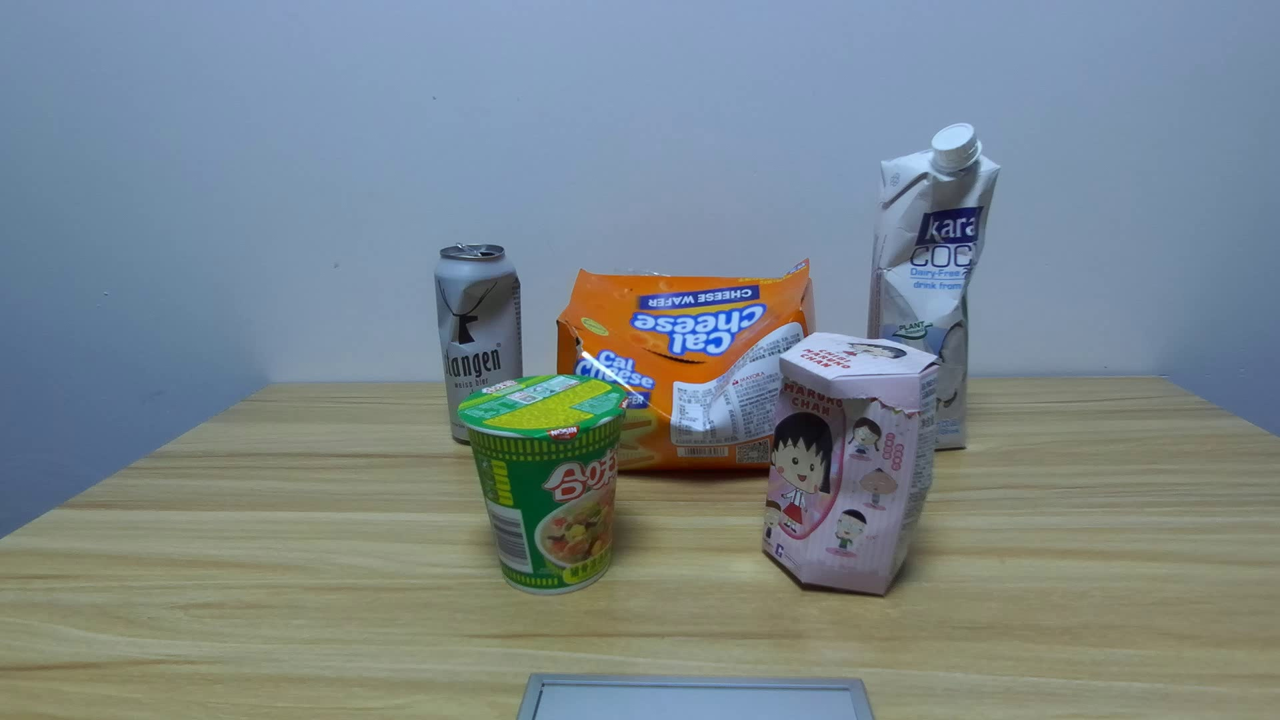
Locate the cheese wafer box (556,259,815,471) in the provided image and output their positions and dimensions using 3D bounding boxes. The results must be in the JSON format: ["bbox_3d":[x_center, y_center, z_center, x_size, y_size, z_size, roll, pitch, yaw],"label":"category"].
[{"bbox_3d":[0.044,0.002,0.590,0.219,0.145,0.191,0,17,5],"label":"cheese wafer box"}]

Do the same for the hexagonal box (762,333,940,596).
[{"bbox_3d":[0.124,0.059,0.421,0.090,0.134,0.091,6,18,14],"label":"hexagonal box"}]

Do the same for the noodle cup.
[{"bbox_3d":[-0.055,0.076,0.426,0.097,0.110,0.097,-1,17,0],"label":"noodle cup"}]

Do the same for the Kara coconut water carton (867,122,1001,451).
[{"bbox_3d":[0.227,-0.054,0.566,0.083,0.255,0.078,-1,20,4],"label":"Kara coconut water carton"}]

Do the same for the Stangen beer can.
[{"bbox_3d":[-0.139,-0.015,0.620,0.070,0.173,0.069,0,19,6],"label":"Stangen beer can"}]
